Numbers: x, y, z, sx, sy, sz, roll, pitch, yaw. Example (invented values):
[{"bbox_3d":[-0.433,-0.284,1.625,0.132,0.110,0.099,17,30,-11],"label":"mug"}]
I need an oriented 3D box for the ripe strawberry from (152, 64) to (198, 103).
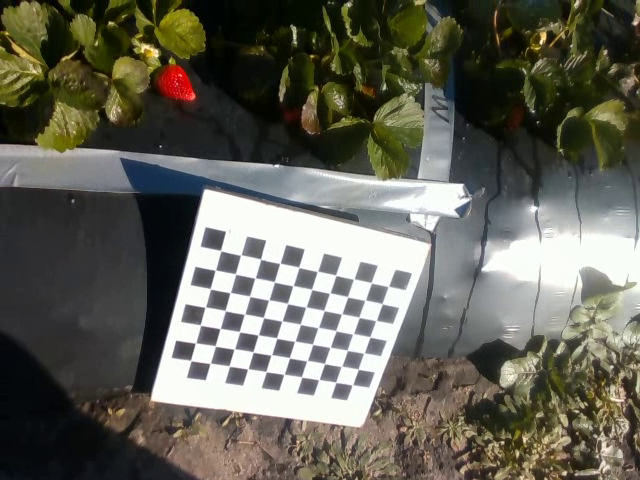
[{"bbox_3d":[-0.165,-0.177,0.760,0.058,0.046,0.042,43,4,-6],"label":"ripe strawberry"}]
